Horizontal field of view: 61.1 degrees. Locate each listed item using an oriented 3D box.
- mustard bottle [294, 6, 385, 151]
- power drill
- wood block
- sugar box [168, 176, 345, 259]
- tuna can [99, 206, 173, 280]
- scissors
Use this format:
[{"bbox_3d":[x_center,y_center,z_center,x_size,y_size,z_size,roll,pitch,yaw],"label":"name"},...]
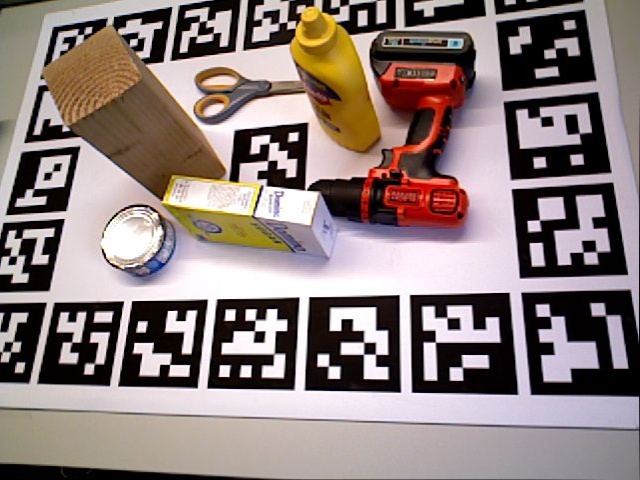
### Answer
[{"bbox_3d":[0.018,-0.175,0.580,0.058,0.192,0.096,-42,67,-3],"label":"mustard bottle"},{"bbox_3d":[0.076,-0.110,0.606,0.185,0.057,0.186,9,81,18],"label":"power drill"},{"bbox_3d":[-0.197,-0.126,0.615,0.091,0.207,0.089,-31,67,1],"label":"wood block"},{"bbox_3d":[-0.067,-0.024,0.598,0.177,0.093,0.045,8,69,15],"label":"sugar box"},{"bbox_3d":[-0.223,0.004,0.658,0.086,0.034,0.085,-5,71,13],"label":"tuna can"},{"bbox_3d":[-0.099,-0.196,0.704,0.203,0.016,0.087,-2,67,15],"label":"scissors"}]
